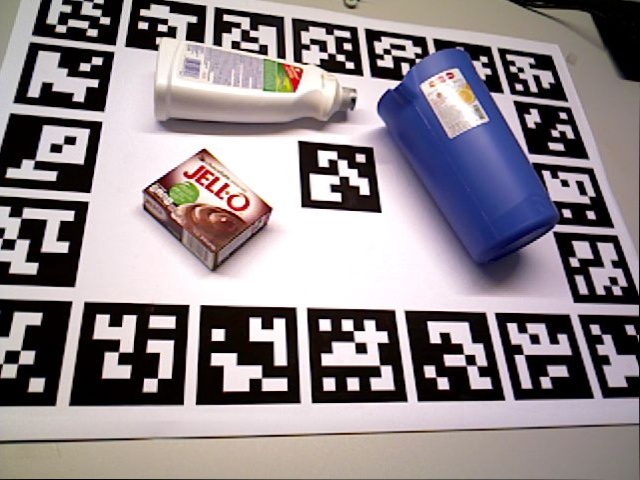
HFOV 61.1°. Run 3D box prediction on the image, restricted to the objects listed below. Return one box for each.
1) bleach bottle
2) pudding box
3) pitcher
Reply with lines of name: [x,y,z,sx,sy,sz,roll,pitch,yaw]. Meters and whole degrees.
bleach bottle: [-0.076,-0.186,0.672,0.248,0.069,0.102,2,66,-16]
pudding box: [-0.124,-0.034,0.587,0.114,0.039,0.088,44,55,9]
pitcher: [0.186,-0.084,0.665,0.185,0.136,0.242,-3,63,-56]
